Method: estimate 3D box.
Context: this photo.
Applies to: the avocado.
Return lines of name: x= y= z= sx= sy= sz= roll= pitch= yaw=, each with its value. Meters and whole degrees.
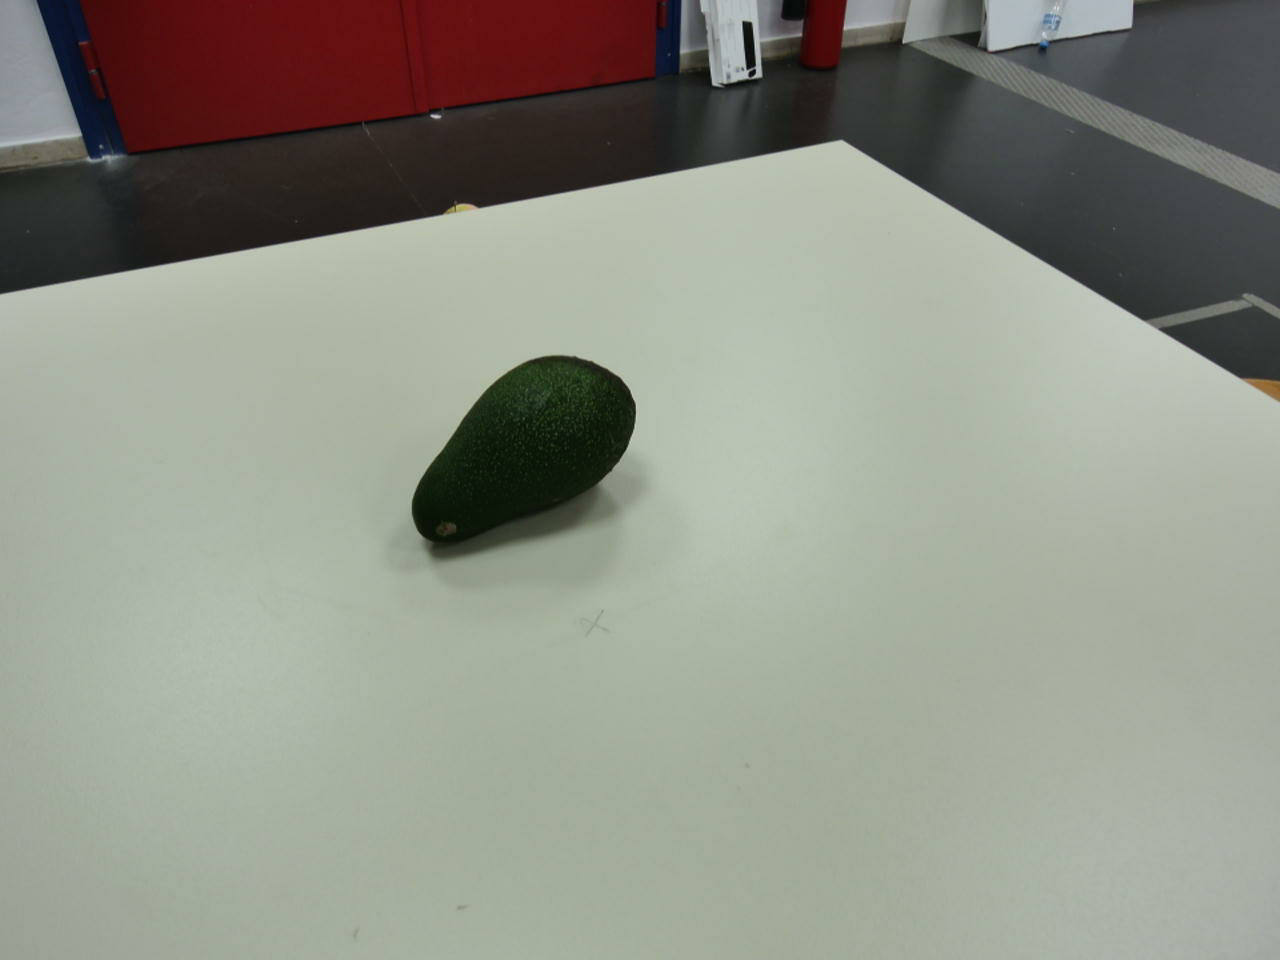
avocado: x=-0.061 y=-0.022 z=0.508 sx=0.123 sy=0.076 sz=0.074 roll=-12 pitch=40 yaw=-16
